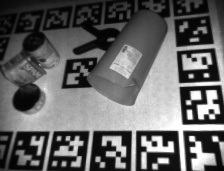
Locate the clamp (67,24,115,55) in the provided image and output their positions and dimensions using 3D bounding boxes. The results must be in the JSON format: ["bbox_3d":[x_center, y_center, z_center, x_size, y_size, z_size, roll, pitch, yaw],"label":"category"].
[{"bbox_3d":[-0.058,-0.154,0.697,0.164,0.037,0.121,-1,63,9],"label":"clamp"}]

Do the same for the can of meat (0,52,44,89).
[{"bbox_3d":[-0.271,-0.042,0.648,0.084,0.103,0.057,-38,64,0],"label":"can of meat"}]

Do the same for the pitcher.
[{"bbox_3d":[0.033,-0.084,0.577,0.186,0.135,0.243,8,60,41],"label":"pitcher"}]

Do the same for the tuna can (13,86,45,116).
[{"bbox_3d":[-0.246,0.046,0.646,0.085,0.034,0.085,-4,68,12],"label":"tuna can"}]

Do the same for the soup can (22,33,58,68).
[{"bbox_3d":[-0.222,-0.106,0.669,0.067,0.103,0.067,-6,68,15],"label":"soup can"}]
